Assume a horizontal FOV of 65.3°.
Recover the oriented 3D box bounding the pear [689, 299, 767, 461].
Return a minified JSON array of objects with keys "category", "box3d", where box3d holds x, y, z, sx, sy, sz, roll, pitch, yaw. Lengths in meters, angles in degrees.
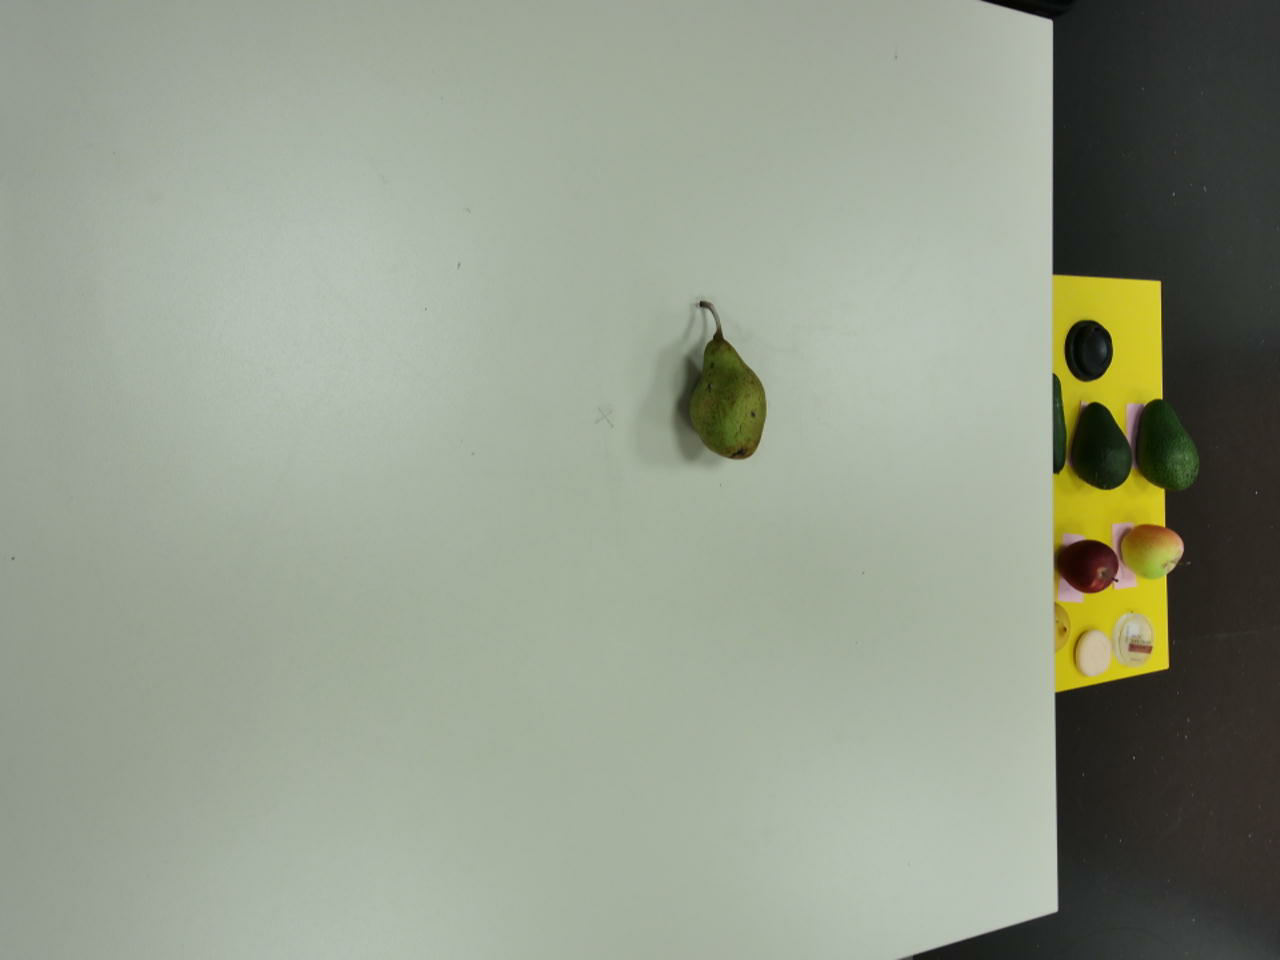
[{"category":"pear","box3d":[0.067,-0.071,0.711,0.056,0.056,0.111,15,83,-27]}]
